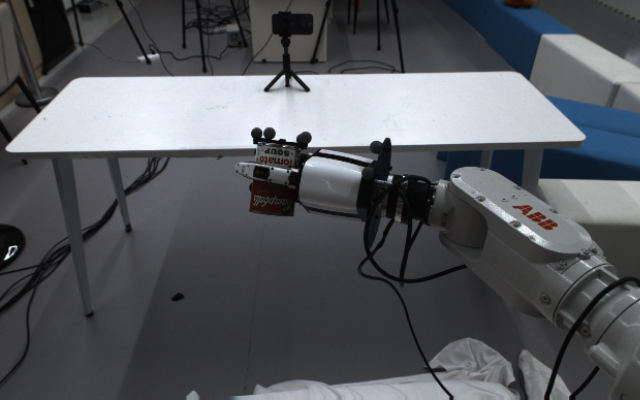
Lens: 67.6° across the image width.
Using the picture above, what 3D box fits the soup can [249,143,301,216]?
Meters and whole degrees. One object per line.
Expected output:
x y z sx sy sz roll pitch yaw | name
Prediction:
-0.065 -0.030 0.714 0.067 0.101 0.067 7 3 0 | soup can
